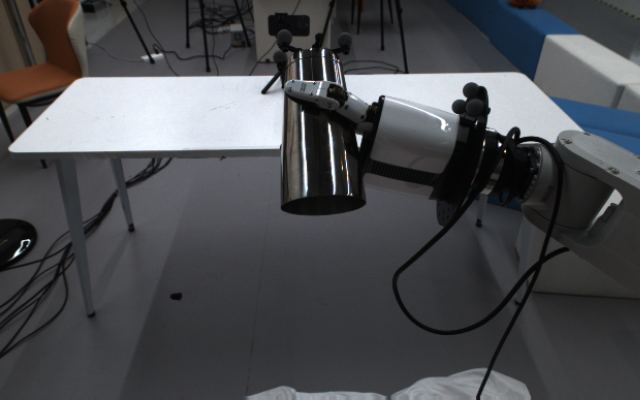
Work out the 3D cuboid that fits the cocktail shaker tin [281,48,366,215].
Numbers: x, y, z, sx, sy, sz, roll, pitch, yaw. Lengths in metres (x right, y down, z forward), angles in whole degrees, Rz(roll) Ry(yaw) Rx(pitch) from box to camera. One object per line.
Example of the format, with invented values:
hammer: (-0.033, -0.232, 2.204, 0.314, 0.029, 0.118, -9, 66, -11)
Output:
cocktail shaker tin: (-0.001, -0.075, 0.537, 0.093, 0.093, 0.170, -3, 76, -7)
